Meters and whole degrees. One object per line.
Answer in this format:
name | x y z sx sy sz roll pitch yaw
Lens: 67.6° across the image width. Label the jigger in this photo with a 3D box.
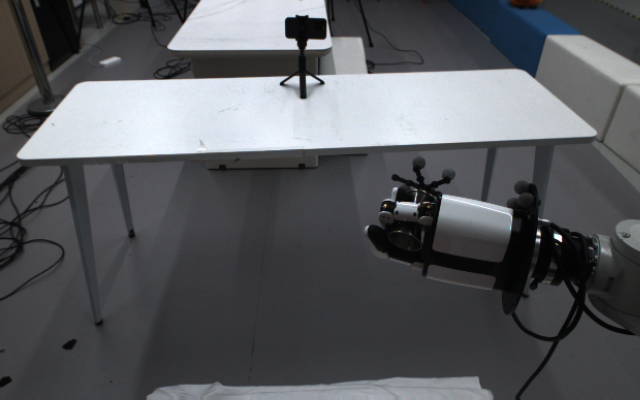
jigger | 0.119 0.022 0.613 0.043 0.043 0.071 15 58 18
